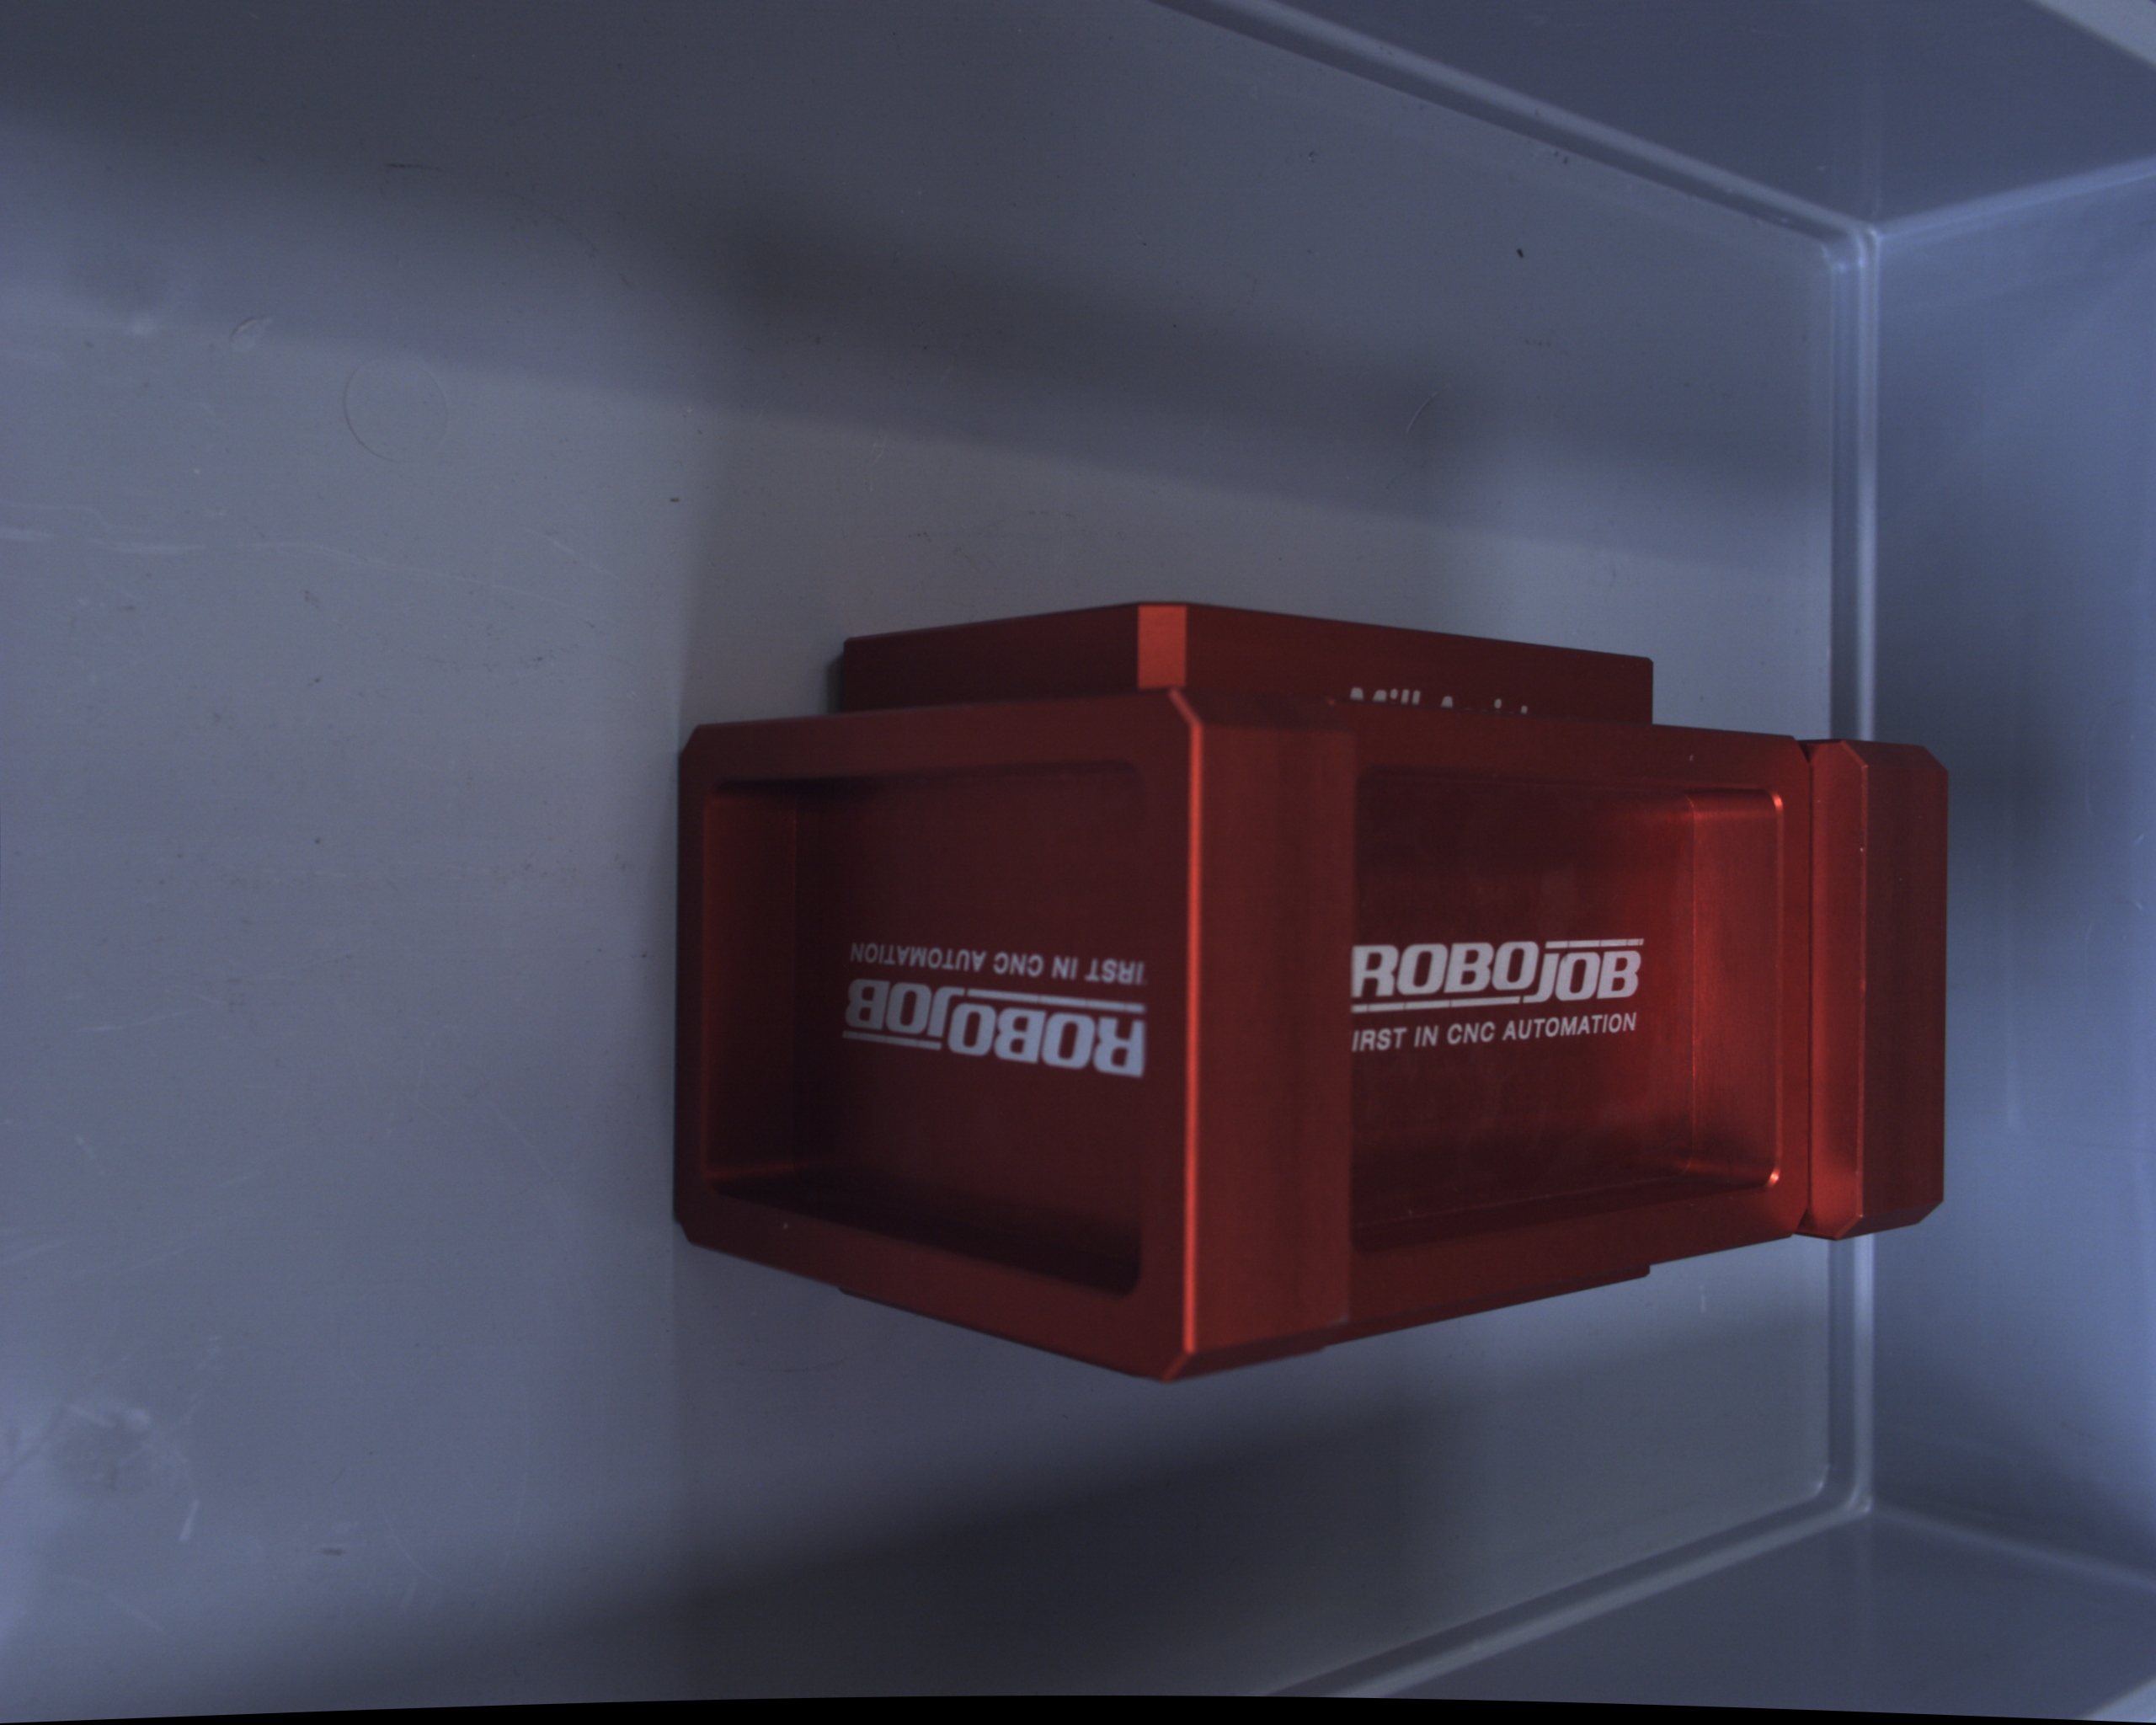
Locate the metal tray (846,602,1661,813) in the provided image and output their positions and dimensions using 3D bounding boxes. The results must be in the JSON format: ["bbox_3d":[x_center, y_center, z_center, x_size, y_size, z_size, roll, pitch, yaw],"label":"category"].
[{"bbox_3d":[0.034,-0.025,0.389,0.131,0.090,0.030,0,91,-40],"label":"metal tray"}]

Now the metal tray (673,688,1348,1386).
[{"bbox_3d":[-0.017,0.022,0.322,0.030,0.130,0.089,1,90,-40],"label":"metal tray"}]

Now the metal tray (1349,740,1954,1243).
[{"bbox_3d":[0.109,0.022,0.426,0.030,0.130,0.089,1,90,-40],"label":"metal tray"}]

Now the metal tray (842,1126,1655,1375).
[{"bbox_3d":[0.033,0.064,0.388,0.131,0.090,0.030,0,90,-40],"label":"metal tray"}]

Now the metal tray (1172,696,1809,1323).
[{"bbox_3d":[0.072,0.022,0.344,0.131,0.030,0.089,1,89,-40],"label":"metal tray"}]
